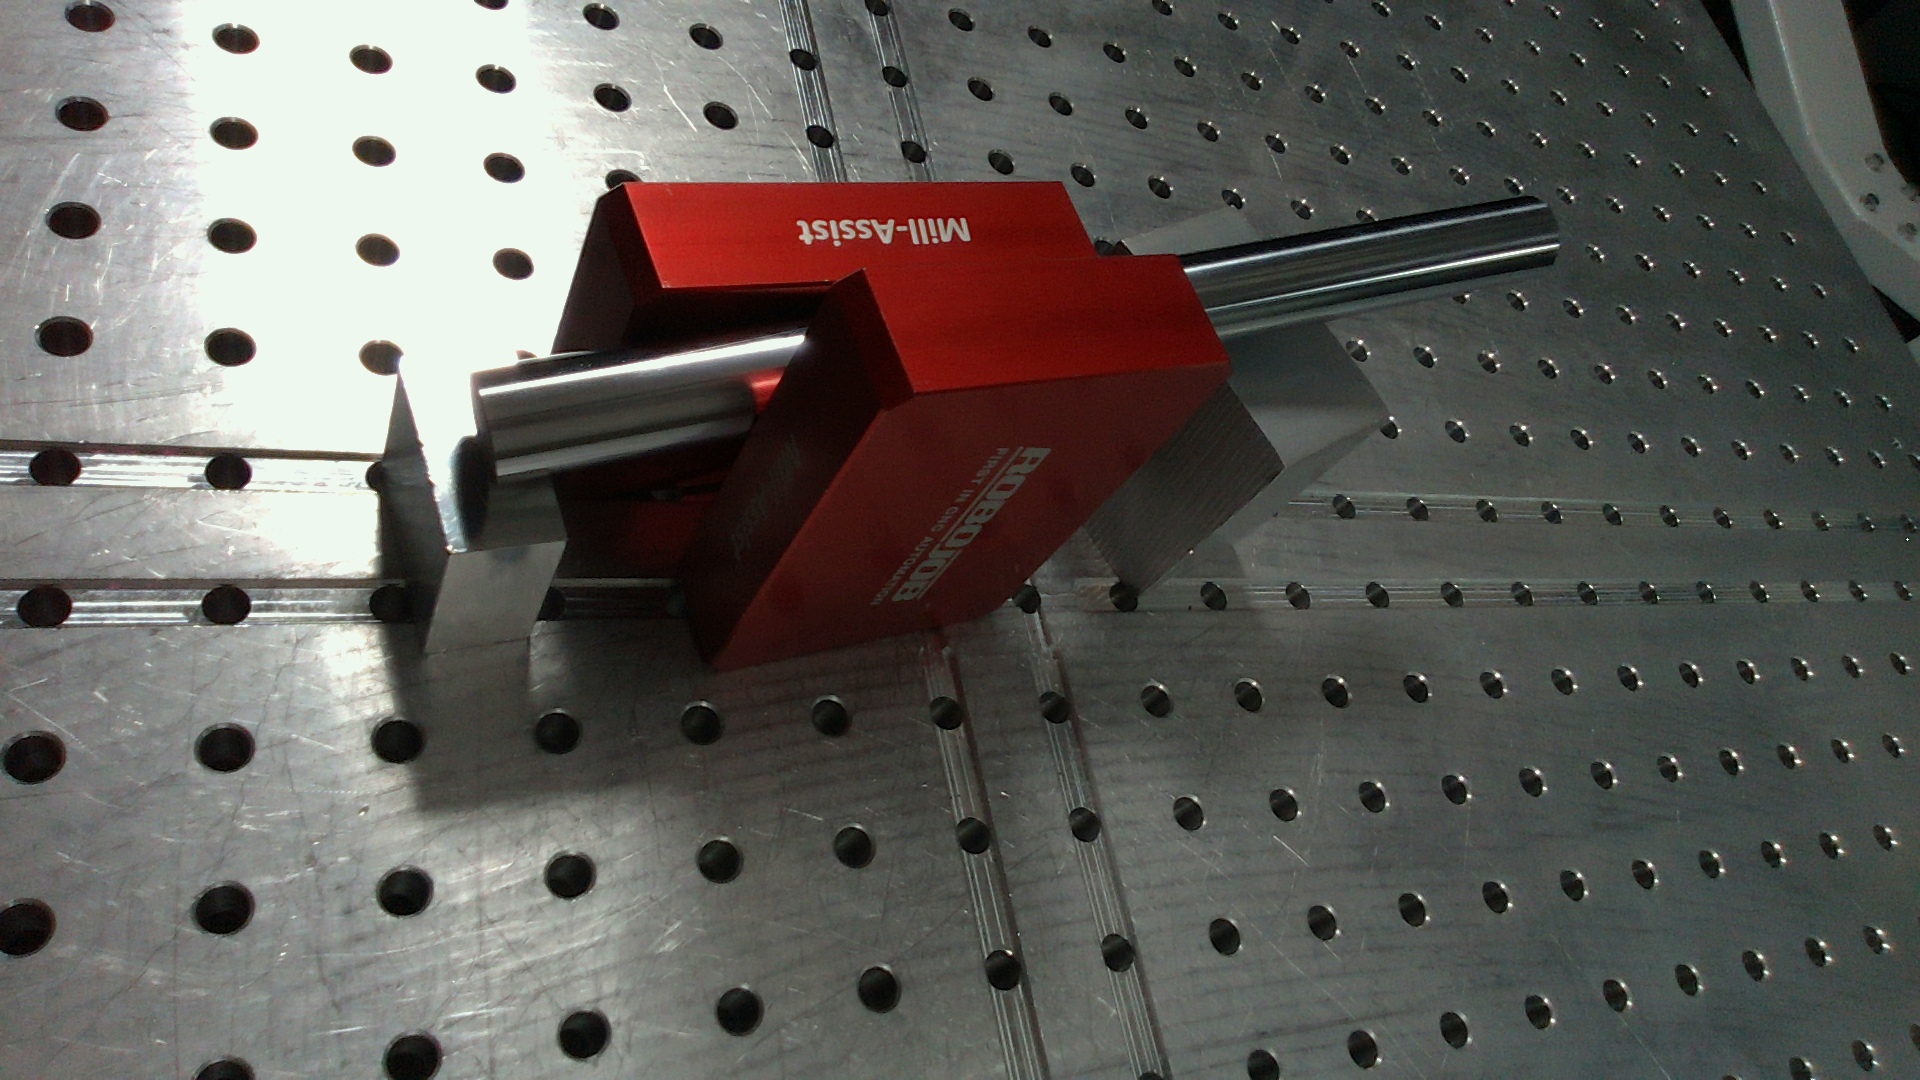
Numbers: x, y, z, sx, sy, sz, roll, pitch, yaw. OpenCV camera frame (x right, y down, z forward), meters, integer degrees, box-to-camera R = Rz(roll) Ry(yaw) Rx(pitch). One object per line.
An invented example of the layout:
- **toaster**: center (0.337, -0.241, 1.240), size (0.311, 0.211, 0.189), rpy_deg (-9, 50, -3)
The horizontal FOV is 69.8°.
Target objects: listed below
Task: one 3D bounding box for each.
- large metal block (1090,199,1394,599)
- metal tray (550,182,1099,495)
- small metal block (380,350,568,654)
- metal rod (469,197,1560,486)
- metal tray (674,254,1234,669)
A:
- **large metal block**: center (0.068, -0.042, 0.418), size (0.050, 0.080, 0.080), rpy_deg (-25, 75, -37)
- **metal tray**: center (-0.036, -0.053, 0.363), size (0.130, 0.090, 0.030), rpy_deg (-9, 67, -32)
- **small metal block**: center (-0.114, -0.008, 0.320), size (0.025, 0.050, 0.050), rpy_deg (-8, 66, -32)
- **metal rod**: center (0.034, -0.056, 0.348), size (0.301, 0.025, 0.025), rpy_deg (-14, 68, -24)
- **metal tray**: center (-0.007, -0.015, 0.331), size (0.090, 0.130, 0.030), rpy_deg (-10, 67, -32)
